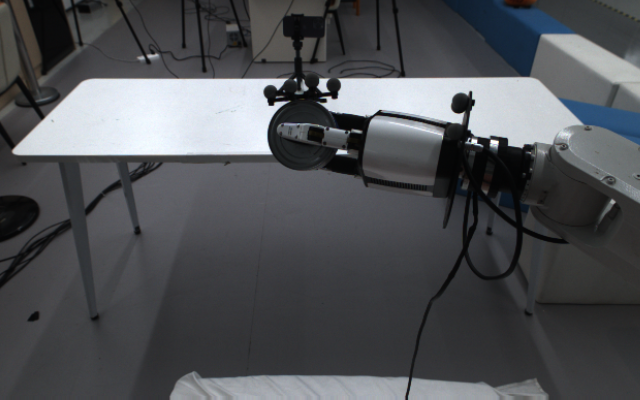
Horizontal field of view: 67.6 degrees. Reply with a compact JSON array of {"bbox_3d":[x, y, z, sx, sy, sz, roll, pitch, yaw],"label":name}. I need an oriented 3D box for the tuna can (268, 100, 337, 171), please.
[{"bbox_3d":[-0.016,-0.074,0.592,0.085,0.085,0.034,10,3,11],"label":"tuna can"}]
